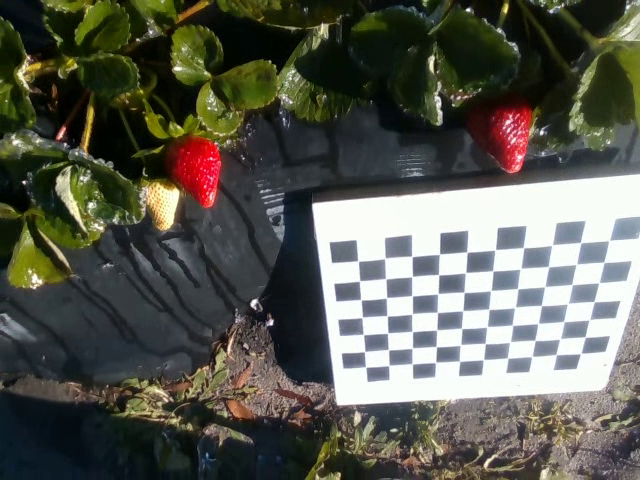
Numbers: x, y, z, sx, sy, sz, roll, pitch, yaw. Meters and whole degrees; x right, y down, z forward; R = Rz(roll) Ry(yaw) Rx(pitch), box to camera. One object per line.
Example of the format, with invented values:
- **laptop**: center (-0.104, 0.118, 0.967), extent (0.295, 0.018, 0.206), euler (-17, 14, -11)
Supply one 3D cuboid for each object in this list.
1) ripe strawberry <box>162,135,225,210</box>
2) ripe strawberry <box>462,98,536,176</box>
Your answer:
- **ripe strawberry**: center (-0.092, -0.049, 0.473), extent (0.043, 0.061, 0.046), euler (-16, -5, 12)
- **ripe strawberry**: center (0.134, -0.073, 0.447), extent (0.049, 0.061, 0.044), euler (-10, 6, 7)
